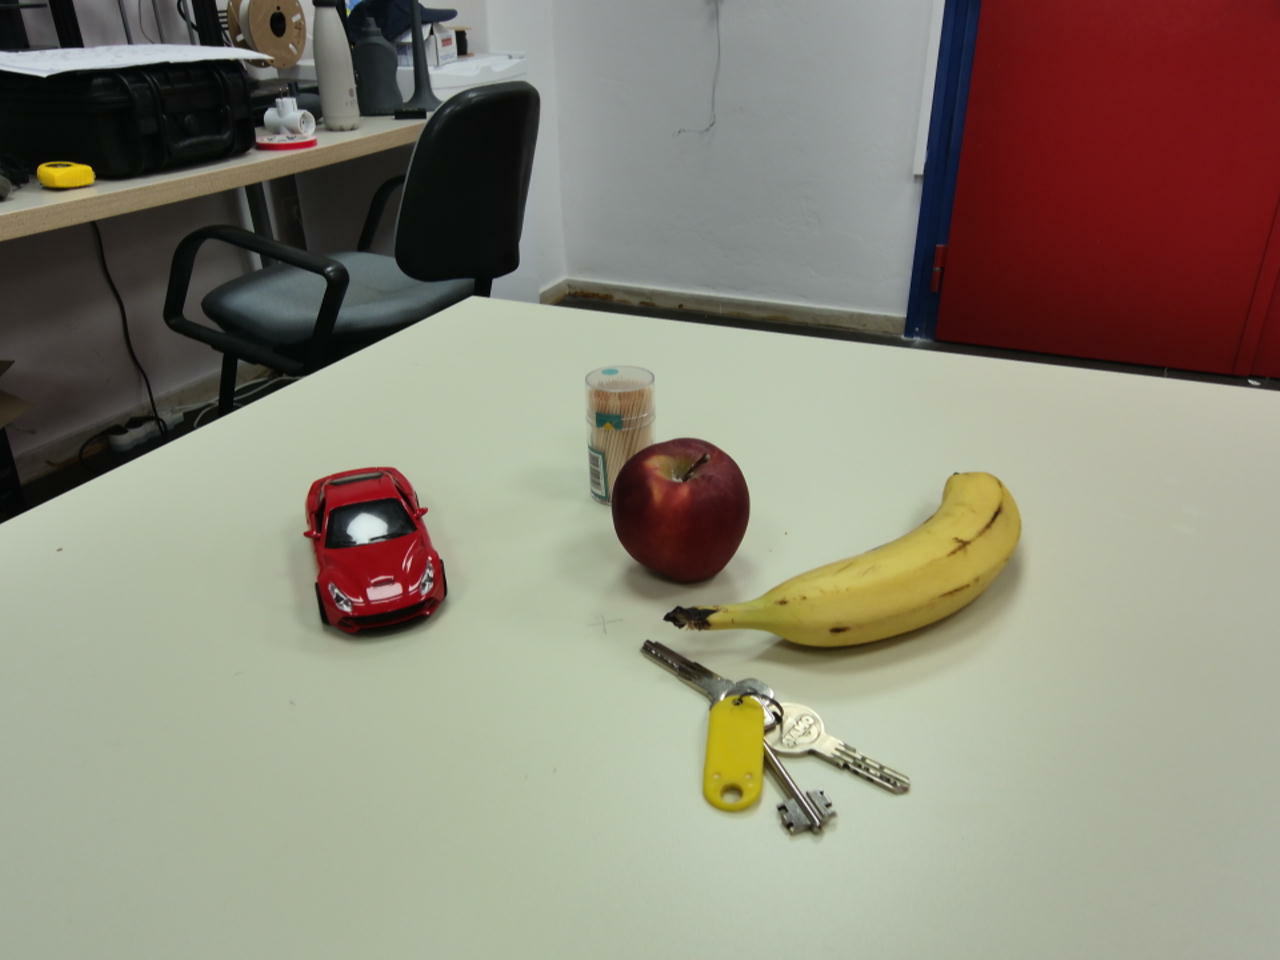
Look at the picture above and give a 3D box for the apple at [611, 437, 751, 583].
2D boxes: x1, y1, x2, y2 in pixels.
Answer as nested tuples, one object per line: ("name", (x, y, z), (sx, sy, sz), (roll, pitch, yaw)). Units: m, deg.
("apple", (0.021, 0.015, 0.498), (0.070, 0.072, 0.070), (1, 25, 0))
